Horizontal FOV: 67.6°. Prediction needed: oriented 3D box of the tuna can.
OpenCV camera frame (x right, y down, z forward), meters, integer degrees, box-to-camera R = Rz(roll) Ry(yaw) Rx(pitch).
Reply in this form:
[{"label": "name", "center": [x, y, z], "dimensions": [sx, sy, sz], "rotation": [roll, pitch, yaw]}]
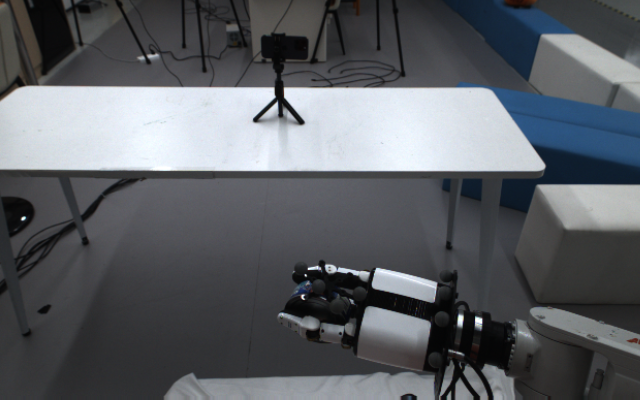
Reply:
[{"label": "tuna can", "center": [0.002, 0.146, 0.639], "dimensions": [0.085, 0.085, 0.034], "rotation": [12, 33, 14]}]
